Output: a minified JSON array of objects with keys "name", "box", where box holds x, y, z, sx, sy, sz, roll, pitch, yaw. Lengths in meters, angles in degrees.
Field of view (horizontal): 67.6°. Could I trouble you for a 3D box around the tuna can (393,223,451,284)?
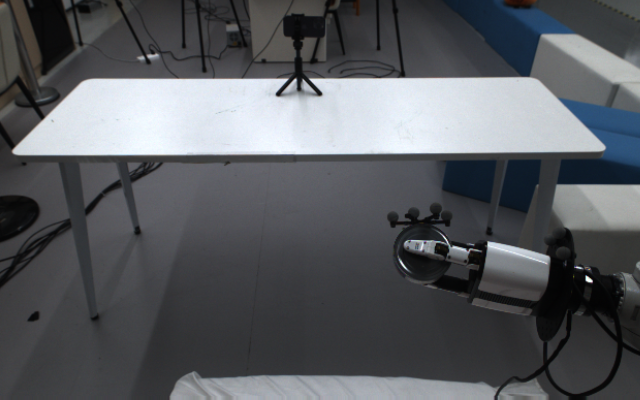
[{"name":"tuna can","box":[0.150,0.077,0.707,0.085,0.034,0.085,-3,66,7]}]
